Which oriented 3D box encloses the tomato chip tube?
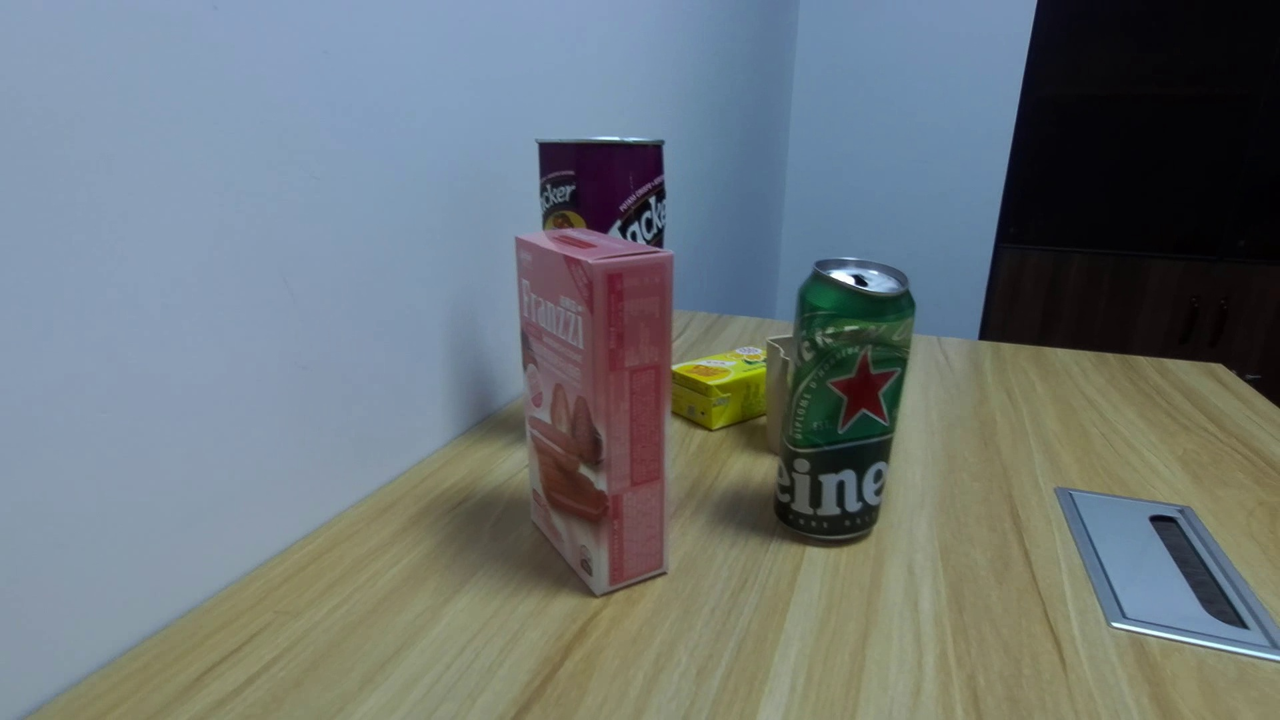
[{"bbox_3d":[-0.025,-0.045,0.537,0.077,0.235,0.076,6,17,22],"label":"tomato chip tube"}]

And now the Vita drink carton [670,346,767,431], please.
[{"bbox_3d":[0.084,0.024,0.632,0.109,0.043,0.066,-13,21,-34],"label":"Vita drink carton"}]

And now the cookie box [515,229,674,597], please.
[{"bbox_3d":[-0.025,0.026,0.399,0.048,0.184,0.095,-9,21,-28],"label":"cookie box"}]

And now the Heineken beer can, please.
[{"bbox_3d":[0.122,0.028,0.430,0.068,0.168,0.069,10,22,17],"label":"Heineken beer can"}]
